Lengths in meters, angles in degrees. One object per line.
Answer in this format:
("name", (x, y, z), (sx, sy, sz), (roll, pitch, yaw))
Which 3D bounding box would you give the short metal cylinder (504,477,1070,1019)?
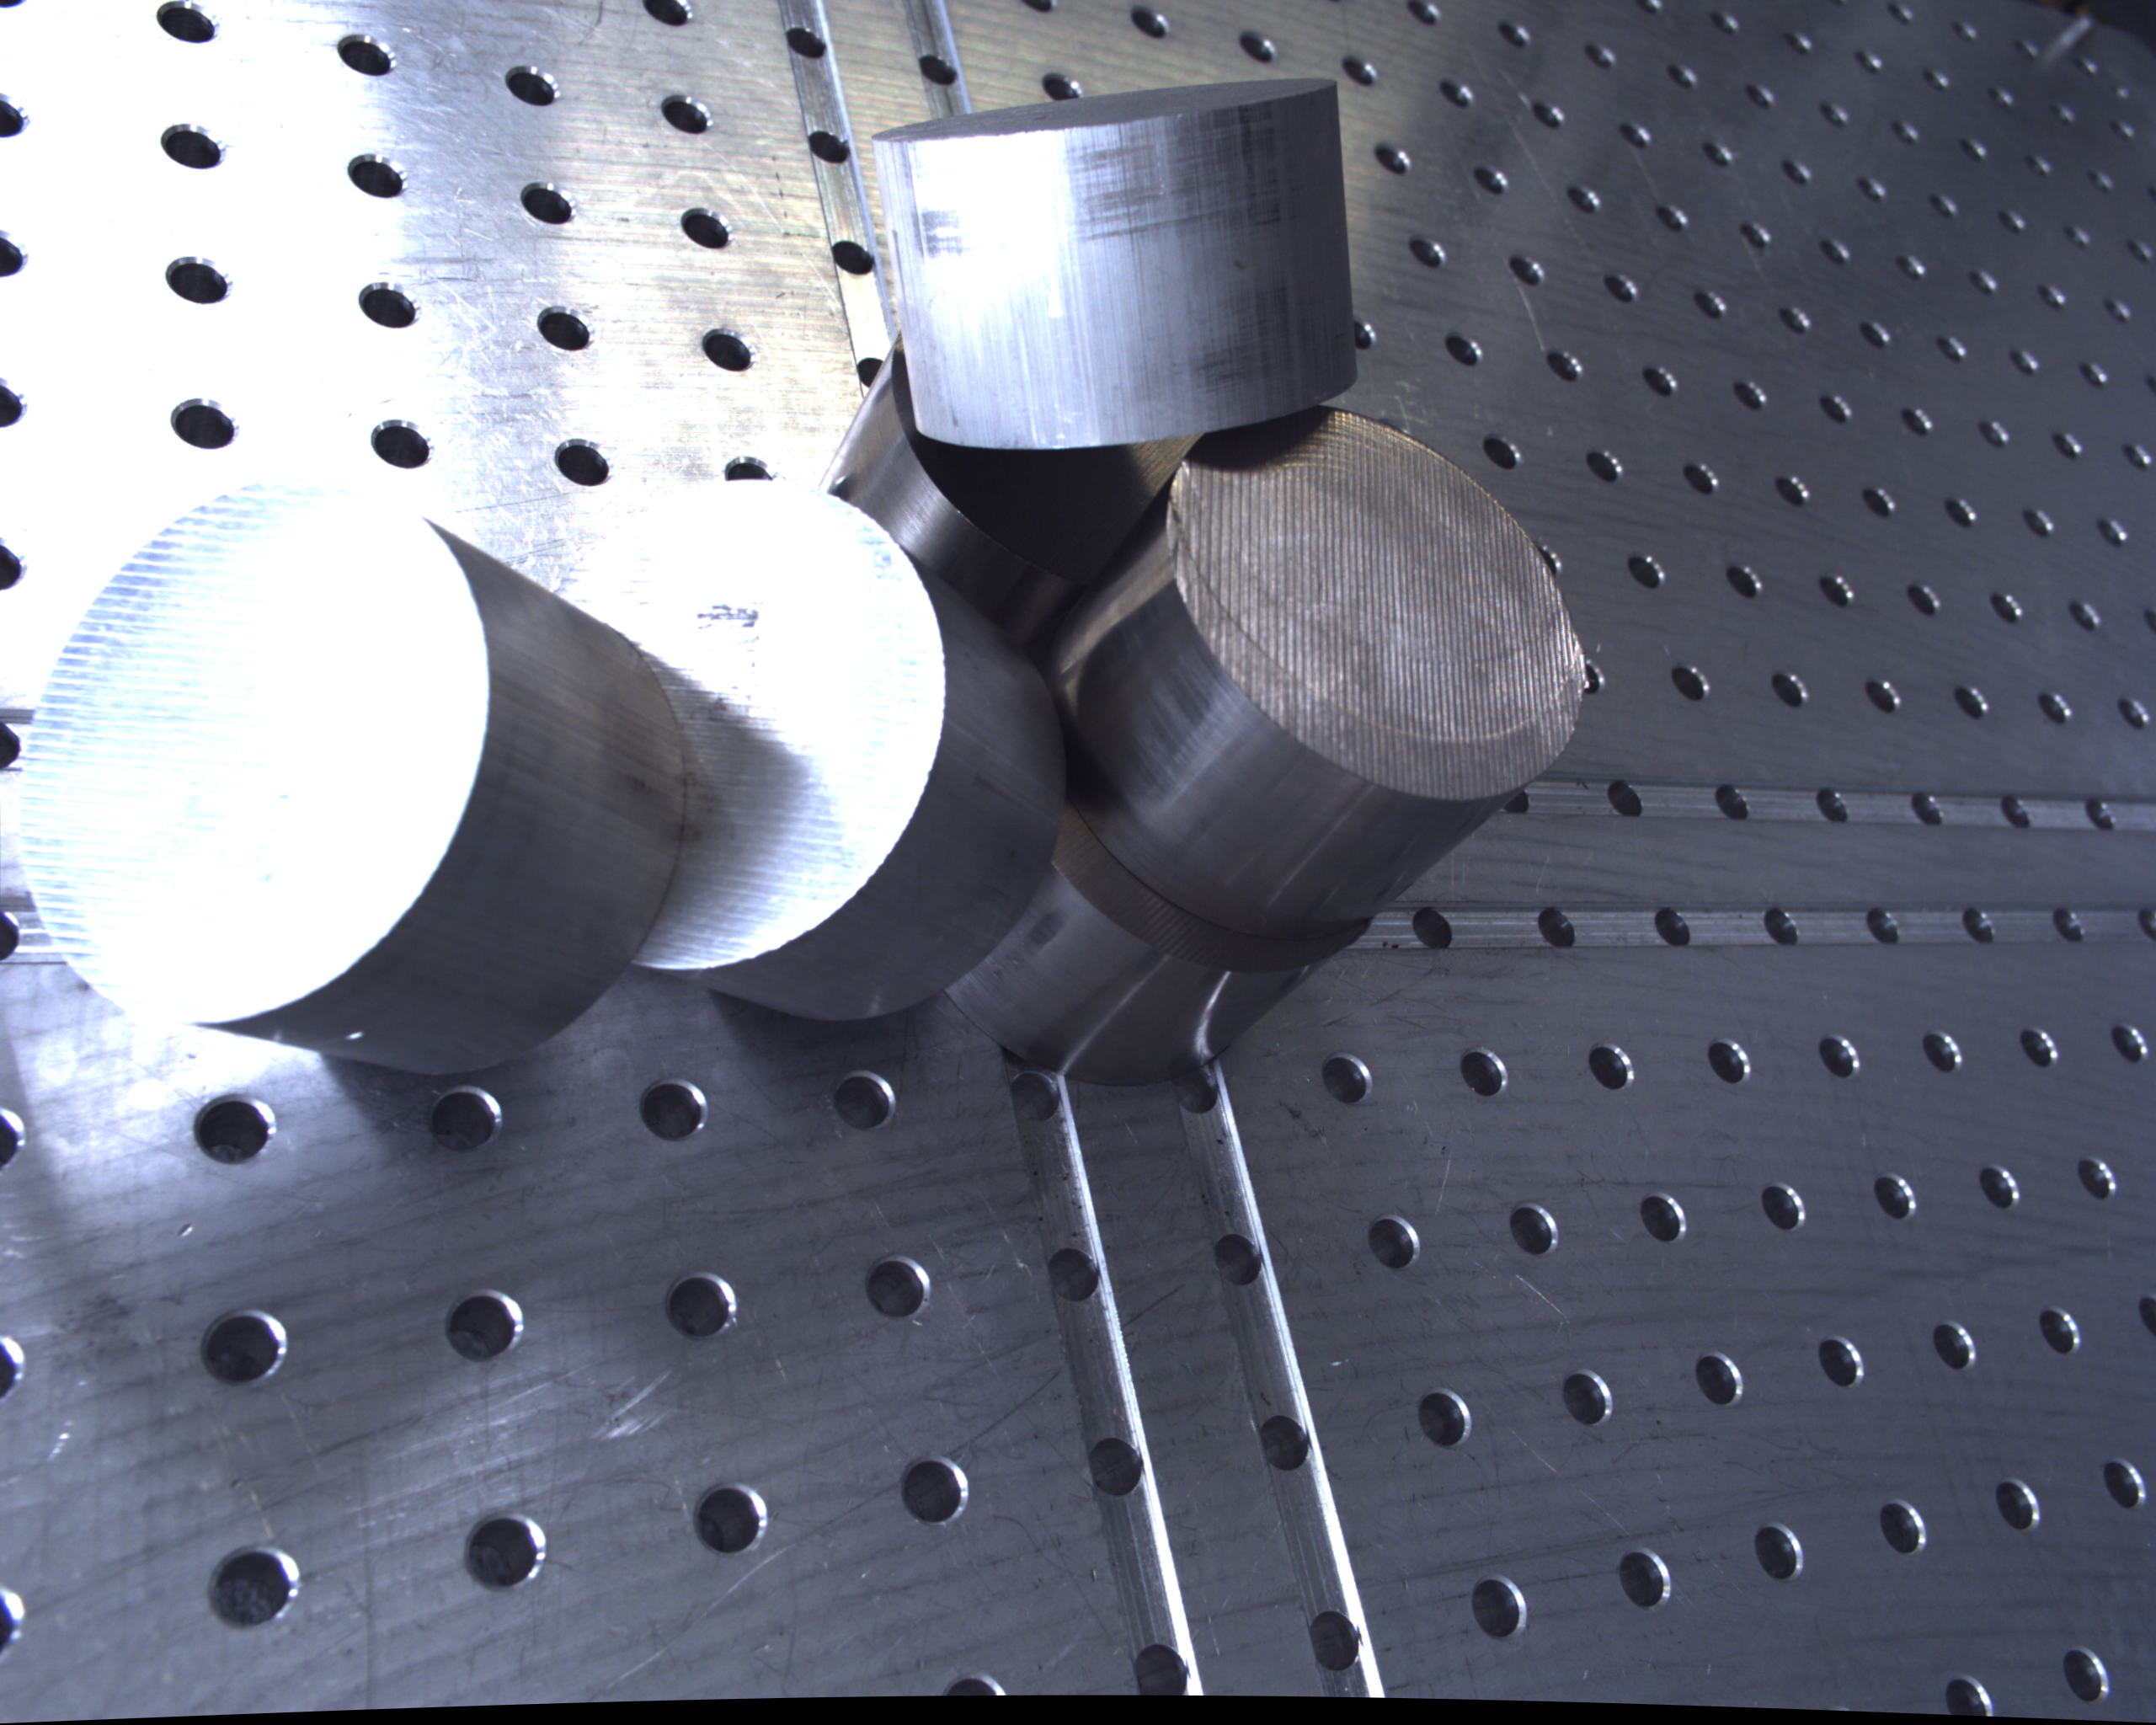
("short metal cylinder", (-0.048, -0.017, 0.348), (0.050, 0.080, 0.080), (33, 34, -65))

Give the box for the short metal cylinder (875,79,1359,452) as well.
("short metal cylinder", (0.008, -0.107, 0.369), (0.081, 0.080, 0.050), (-27, 120, -37))

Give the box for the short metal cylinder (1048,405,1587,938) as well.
("short metal cylinder", (0.041, -0.033, 0.368), (0.081, 0.050, 0.080), (13, 56, -21))

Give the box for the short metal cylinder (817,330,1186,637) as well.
("short metal cylinder", (-0.010, -0.075, 0.432), (0.081, 0.050, 0.080), (13, 56, -21))

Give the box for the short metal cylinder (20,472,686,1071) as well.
("short metal cylinder", (-0.107, -0.012, 0.314), (0.050, 0.080, 0.080), (34, 33, -65))

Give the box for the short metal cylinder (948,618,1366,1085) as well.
("short metal cylinder", (0.013, -0.004, 0.400), (0.081, 0.050, 0.080), (14, 56, -21))
